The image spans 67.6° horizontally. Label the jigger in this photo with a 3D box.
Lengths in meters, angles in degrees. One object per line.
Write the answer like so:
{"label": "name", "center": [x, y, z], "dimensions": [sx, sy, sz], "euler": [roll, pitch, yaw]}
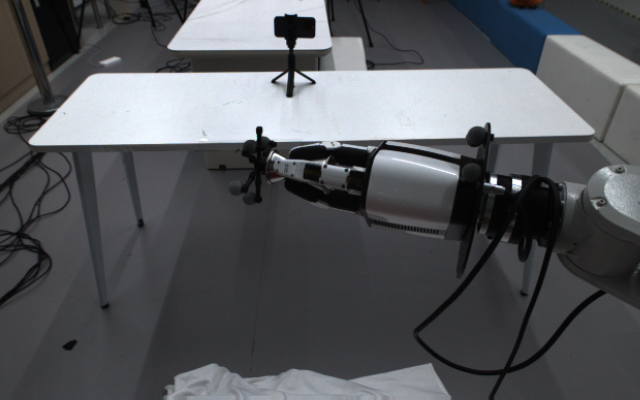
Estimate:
{"label": "jigger", "center": [-0.015, -0.036, 0.536], "dimensions": [0.071, 0.043, 0.043], "euler": [8, 35, 16]}
